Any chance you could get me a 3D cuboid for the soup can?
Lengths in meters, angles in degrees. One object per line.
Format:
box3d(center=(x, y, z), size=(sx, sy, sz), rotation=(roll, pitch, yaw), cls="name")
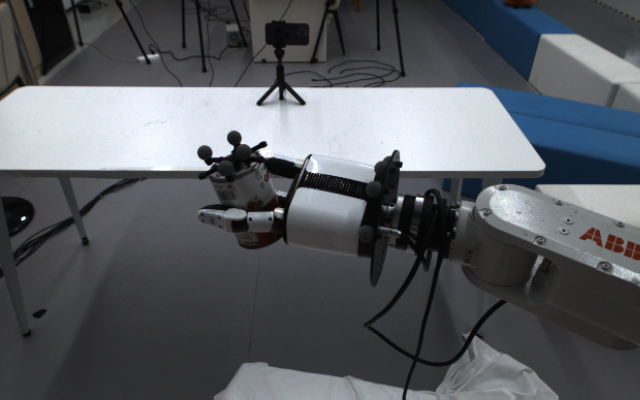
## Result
box3d(center=(-0.084, 0.001, 0.588), size=(0.067, 0.101, 0.067), rotation=(-13, 31, 8), cls="soup can")
